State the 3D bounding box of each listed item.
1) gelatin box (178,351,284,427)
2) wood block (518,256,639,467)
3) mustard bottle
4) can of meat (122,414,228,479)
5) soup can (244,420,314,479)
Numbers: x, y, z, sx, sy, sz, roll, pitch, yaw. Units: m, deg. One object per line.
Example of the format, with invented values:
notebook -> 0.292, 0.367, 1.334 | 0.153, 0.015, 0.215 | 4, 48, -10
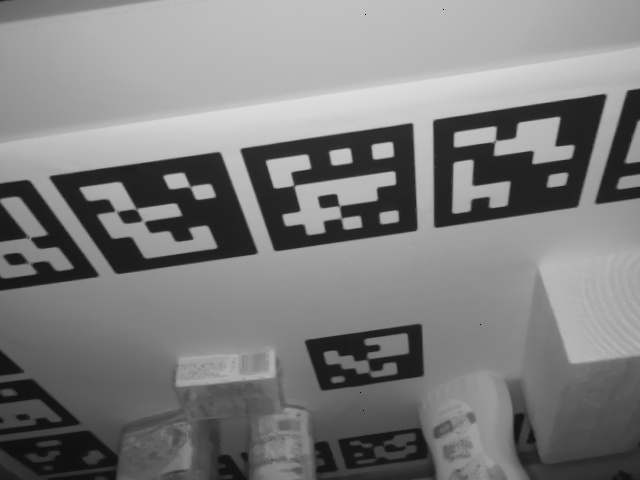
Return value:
gelatin box -> -0.077, 0.131, 0.613 | 0.090, 0.030, 0.072 | -3, 135, -8
wood block -> 0.236, 0.112, 0.594 | 0.091, 0.090, 0.205 | -6, 142, 3
mustard bottle -> 0.154, 0.228, 0.641 | 0.095, 0.193, 0.059 | -25, 135, 22
can of meat -> -0.140, 0.220, 0.669 | 0.101, 0.084, 0.058 | -16, 136, 14
soup can -> -0.039, 0.236, 0.671 | 0.068, 0.103, 0.067 | -4, 136, -3
